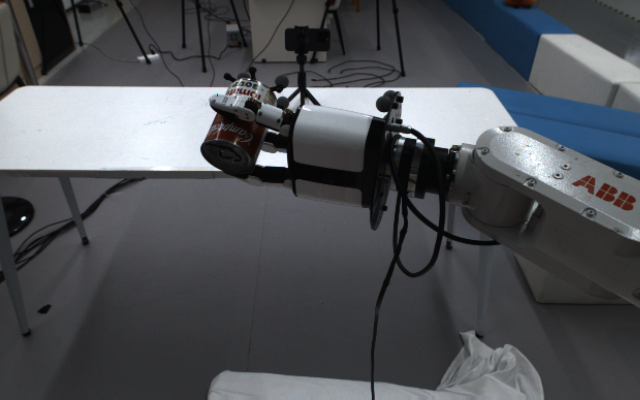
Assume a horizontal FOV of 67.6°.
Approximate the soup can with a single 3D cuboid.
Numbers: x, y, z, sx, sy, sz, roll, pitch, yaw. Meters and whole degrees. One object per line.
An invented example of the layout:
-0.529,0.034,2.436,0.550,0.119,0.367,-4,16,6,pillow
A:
-0.098,-0.091,0.602,0.067,0.067,0.101,9,60,10,soup can
